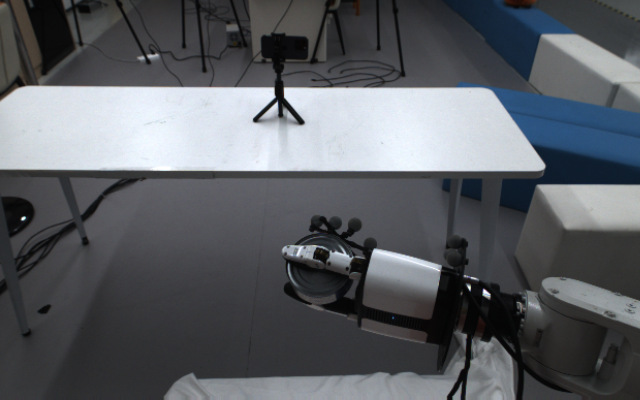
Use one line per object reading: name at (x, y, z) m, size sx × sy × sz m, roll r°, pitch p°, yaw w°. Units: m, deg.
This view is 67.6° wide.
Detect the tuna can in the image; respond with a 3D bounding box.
tuna can at (0.003, 0.086, 0.610) m, size 0.085 × 0.034 × 0.085 m, roll -4°, pitch 56°, yaw 6°
